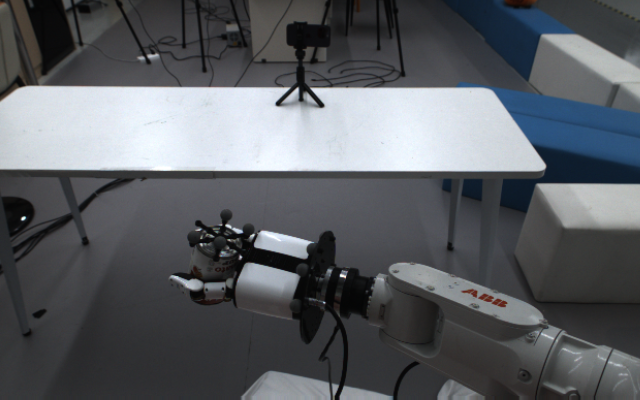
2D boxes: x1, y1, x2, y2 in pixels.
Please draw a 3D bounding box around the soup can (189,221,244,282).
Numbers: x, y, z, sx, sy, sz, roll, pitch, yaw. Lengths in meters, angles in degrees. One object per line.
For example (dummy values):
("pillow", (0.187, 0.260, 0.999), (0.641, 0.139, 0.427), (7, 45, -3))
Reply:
("soup can", (-0.155, 0.096, 0.702), (0.067, 0.101, 0.067), (14, 36, -11))
